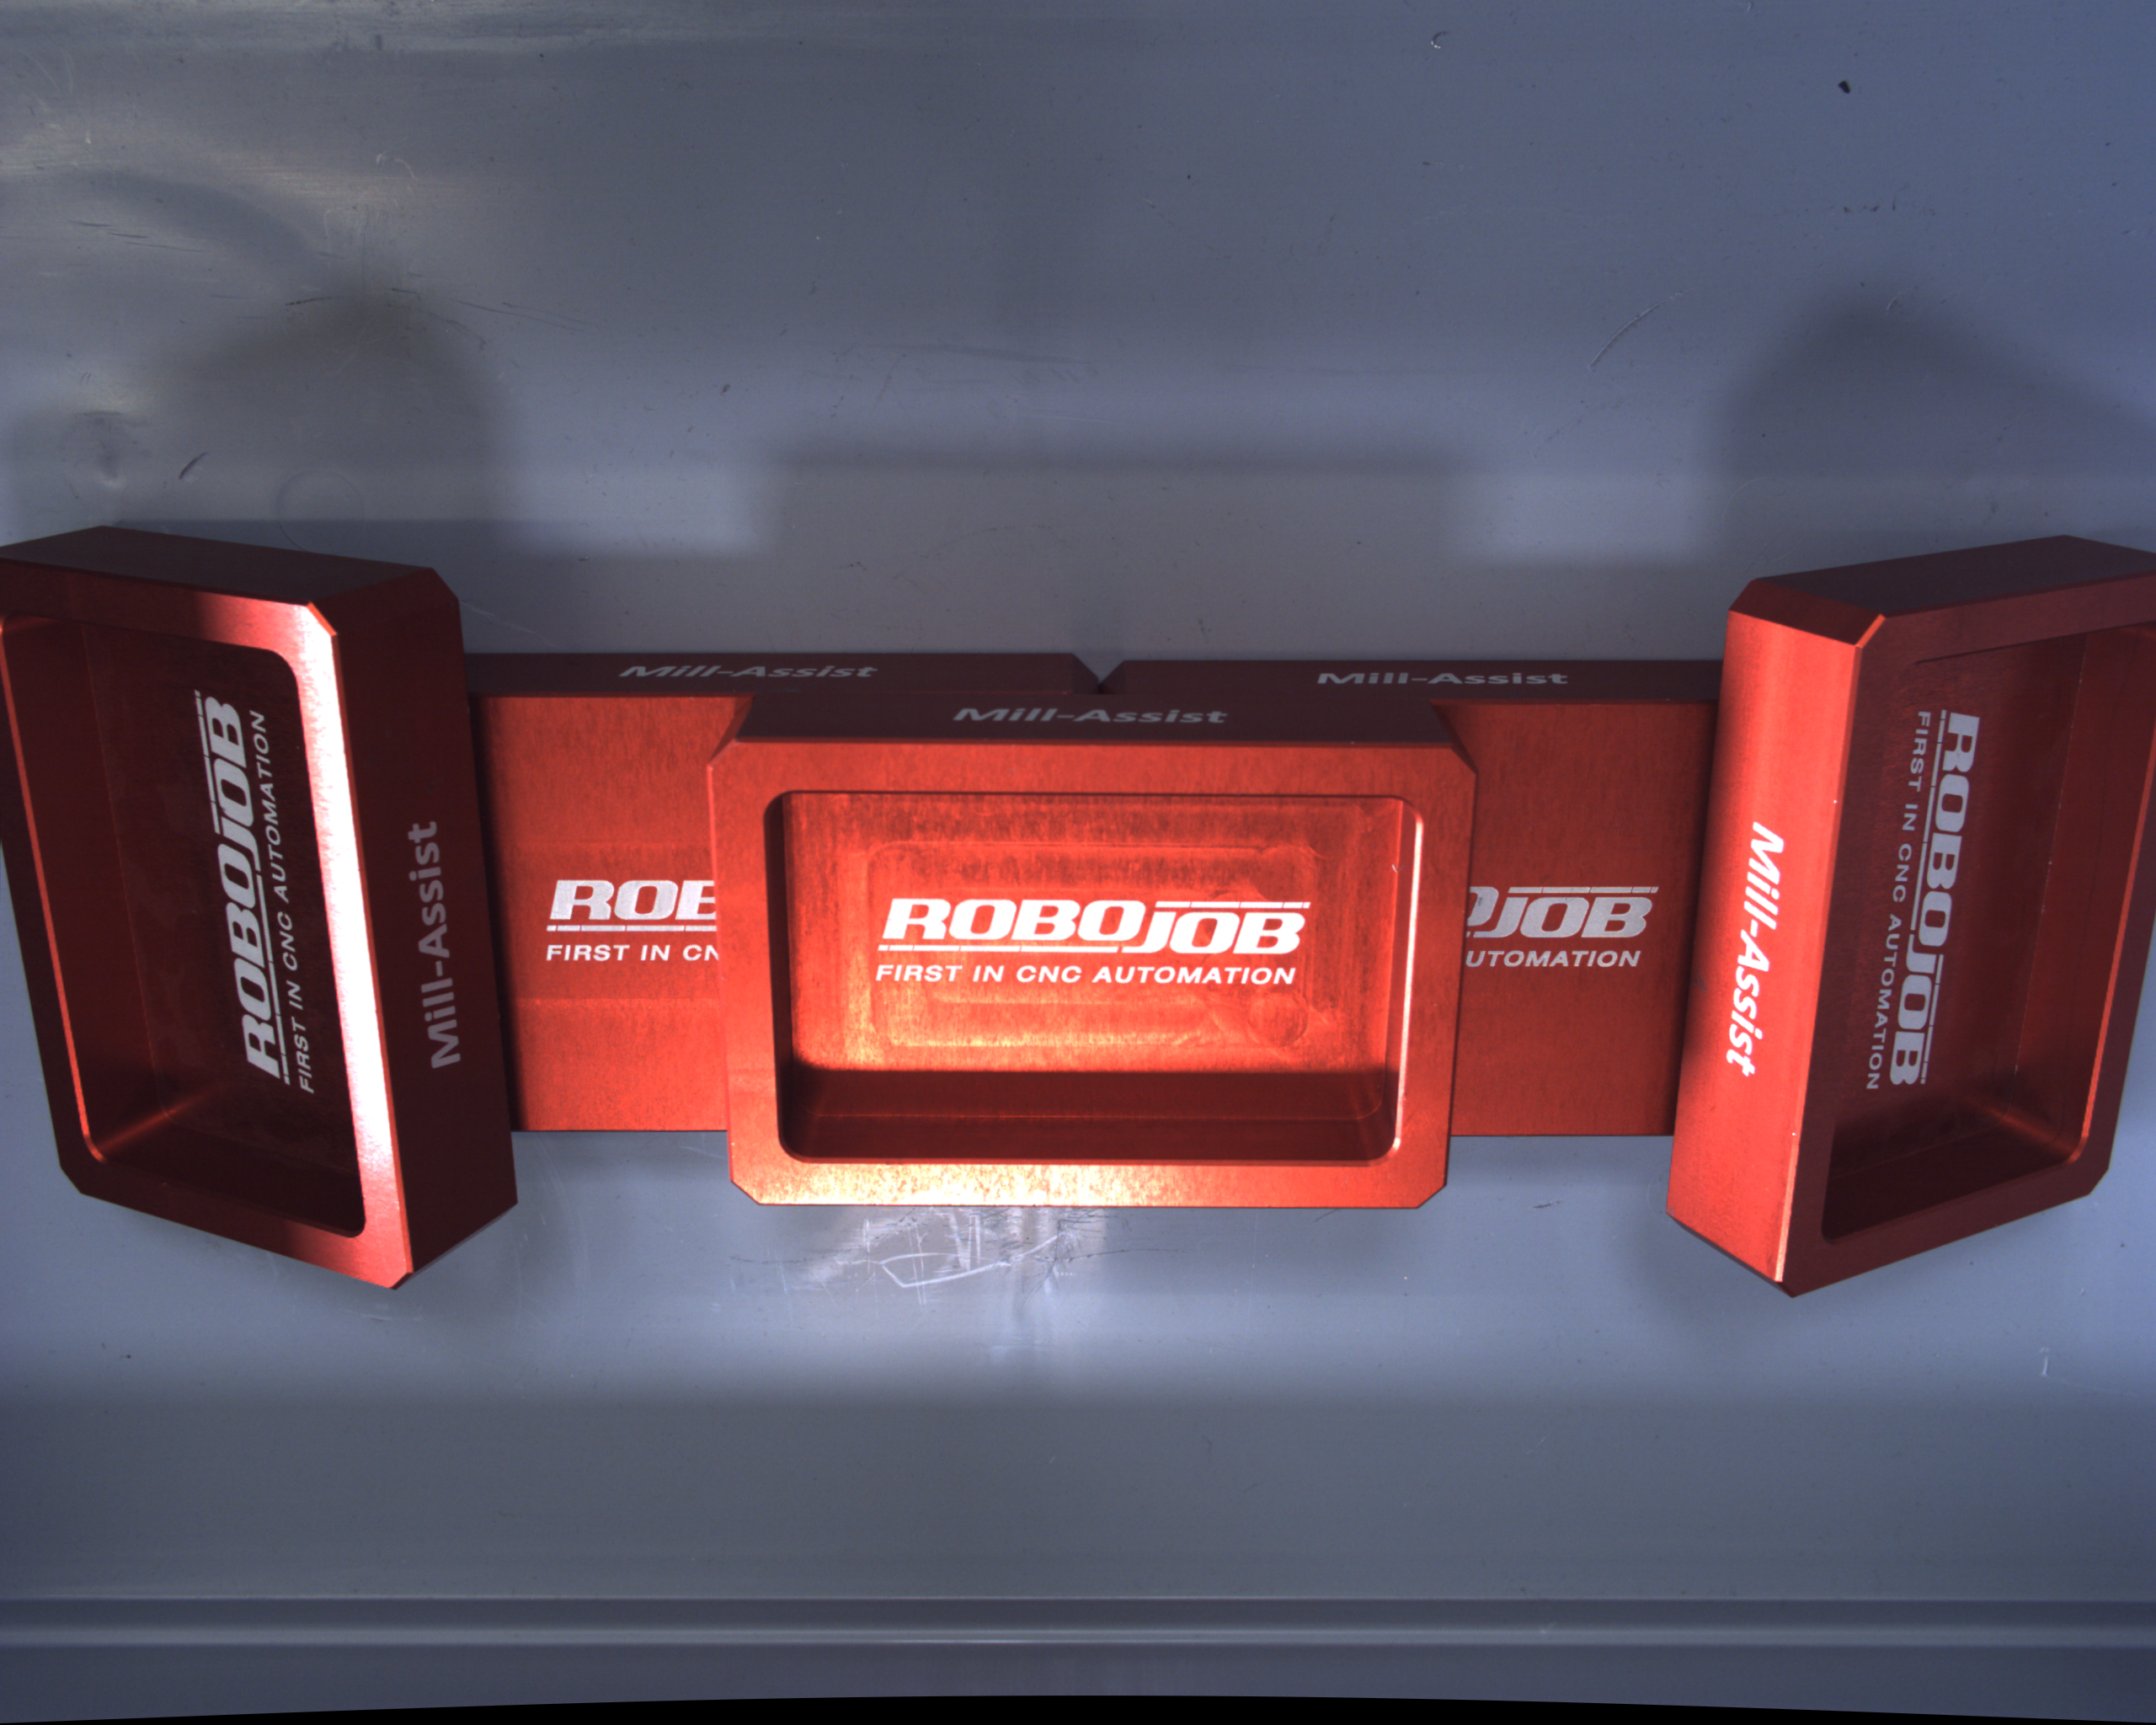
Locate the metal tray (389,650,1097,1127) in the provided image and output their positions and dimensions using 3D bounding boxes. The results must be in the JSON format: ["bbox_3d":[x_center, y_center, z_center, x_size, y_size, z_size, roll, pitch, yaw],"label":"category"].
[{"bbox_3d":[-0.062,0.006,0.409,0.131,0.030,0.089,0,110,0],"label":"metal tray"}]

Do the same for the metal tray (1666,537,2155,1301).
[{"bbox_3d":[0.160,0.009,0.391,0.091,0.030,0.129,-11,113,-27],"label":"metal tray"}]

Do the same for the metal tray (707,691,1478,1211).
[{"bbox_3d":[0.002,0.016,0.381,0.131,0.030,0.089,1,110,0],"label":"metal tray"}]

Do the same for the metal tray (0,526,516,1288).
[{"bbox_3d":[-0.155,0.007,0.389,0.090,0.030,0.129,10,112,23],"label":"metal tray"}]

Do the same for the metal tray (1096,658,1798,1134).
[{"bbox_3d":[0.069,0.007,0.411,0.131,0.030,0.089,0,110,0],"label":"metal tray"}]
